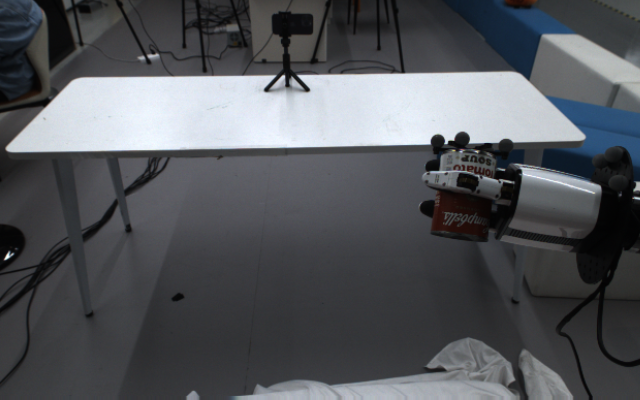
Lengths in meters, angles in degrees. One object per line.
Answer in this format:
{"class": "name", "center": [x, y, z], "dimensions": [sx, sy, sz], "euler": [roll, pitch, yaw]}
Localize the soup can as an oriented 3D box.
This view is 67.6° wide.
{"class": "soup can", "center": [0.175, -0.005, 0.584], "dimensions": [0.067, 0.101, 0.067], "euler": [9, -6, 1]}
